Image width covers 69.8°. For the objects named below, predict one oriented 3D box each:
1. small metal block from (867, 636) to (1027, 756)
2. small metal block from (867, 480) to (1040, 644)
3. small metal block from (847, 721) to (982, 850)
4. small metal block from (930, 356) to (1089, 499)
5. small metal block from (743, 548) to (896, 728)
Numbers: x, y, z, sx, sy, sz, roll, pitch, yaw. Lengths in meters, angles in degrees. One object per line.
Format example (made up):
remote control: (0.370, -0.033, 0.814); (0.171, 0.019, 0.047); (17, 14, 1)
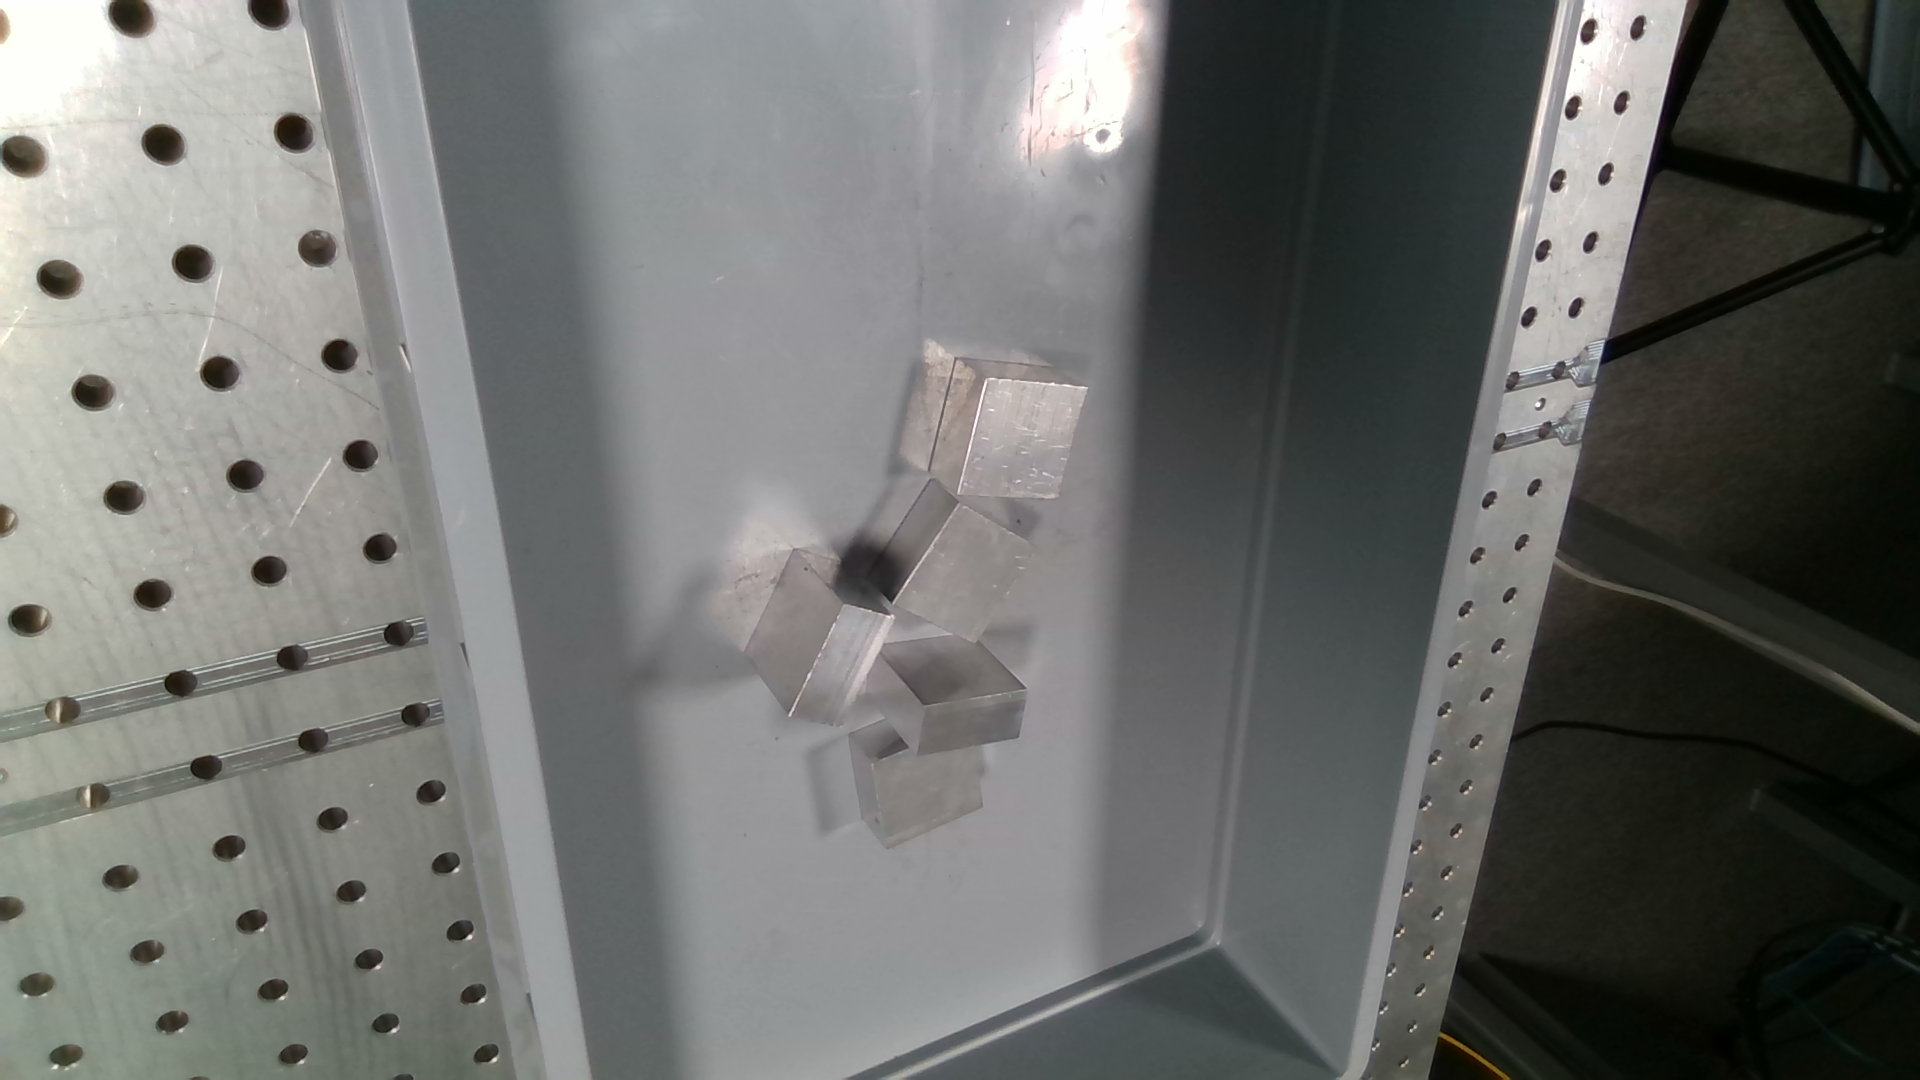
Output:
small metal block: (-0.007, 0.065, 0.594); (0.050, 0.050, 0.025); (-5, 118, -29)
small metal block: (-0.003, 0.010, 0.581); (0.050, 0.025, 0.050); (29, 98, -39)
small metal block: (-0.020, 0.105, 0.623); (0.050, 0.025, 0.050); (-20, 124, -22)
small metal block: (0.020, -0.045, 0.565); (0.050, 0.025, 0.050); (1, 114, -32)
small metal block: (-0.057, 0.039, 0.548); (0.025, 0.050, 0.050); (19, 105, -36)
